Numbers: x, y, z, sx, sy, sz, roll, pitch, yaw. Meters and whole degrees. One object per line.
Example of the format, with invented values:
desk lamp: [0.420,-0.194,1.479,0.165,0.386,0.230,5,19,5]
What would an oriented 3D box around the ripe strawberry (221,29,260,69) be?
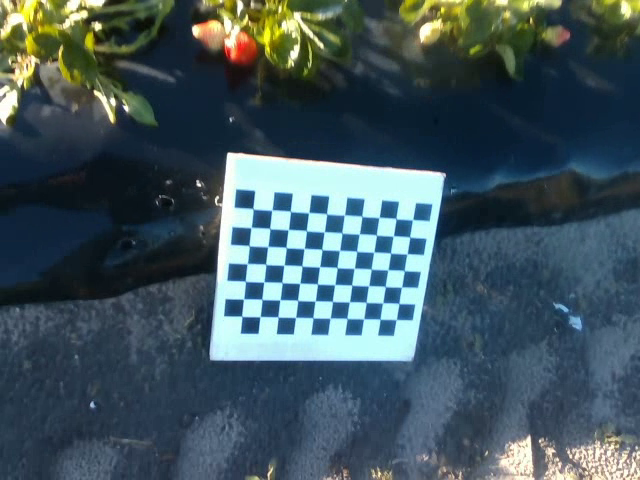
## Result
ripe strawberry: [-0.093,-0.216,0.674,0.040,0.038,0.056,-7,19,15]
